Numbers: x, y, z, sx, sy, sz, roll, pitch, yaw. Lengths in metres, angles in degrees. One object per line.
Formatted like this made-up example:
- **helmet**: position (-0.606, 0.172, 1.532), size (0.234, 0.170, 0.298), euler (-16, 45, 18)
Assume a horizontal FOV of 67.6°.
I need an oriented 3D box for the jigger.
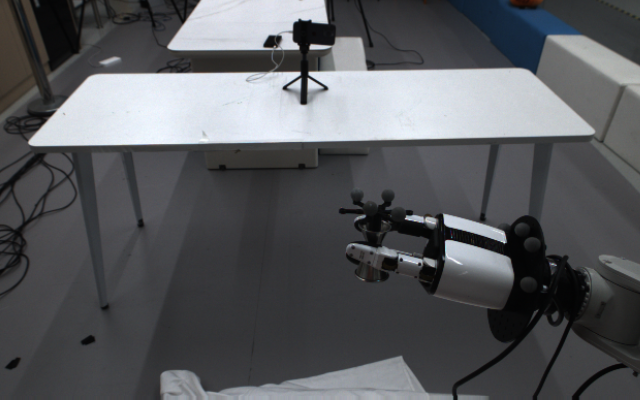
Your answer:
- **jigger**: position (0.066, 0.061, 0.608), size (0.043, 0.071, 0.043), euler (1, 20, 0)
